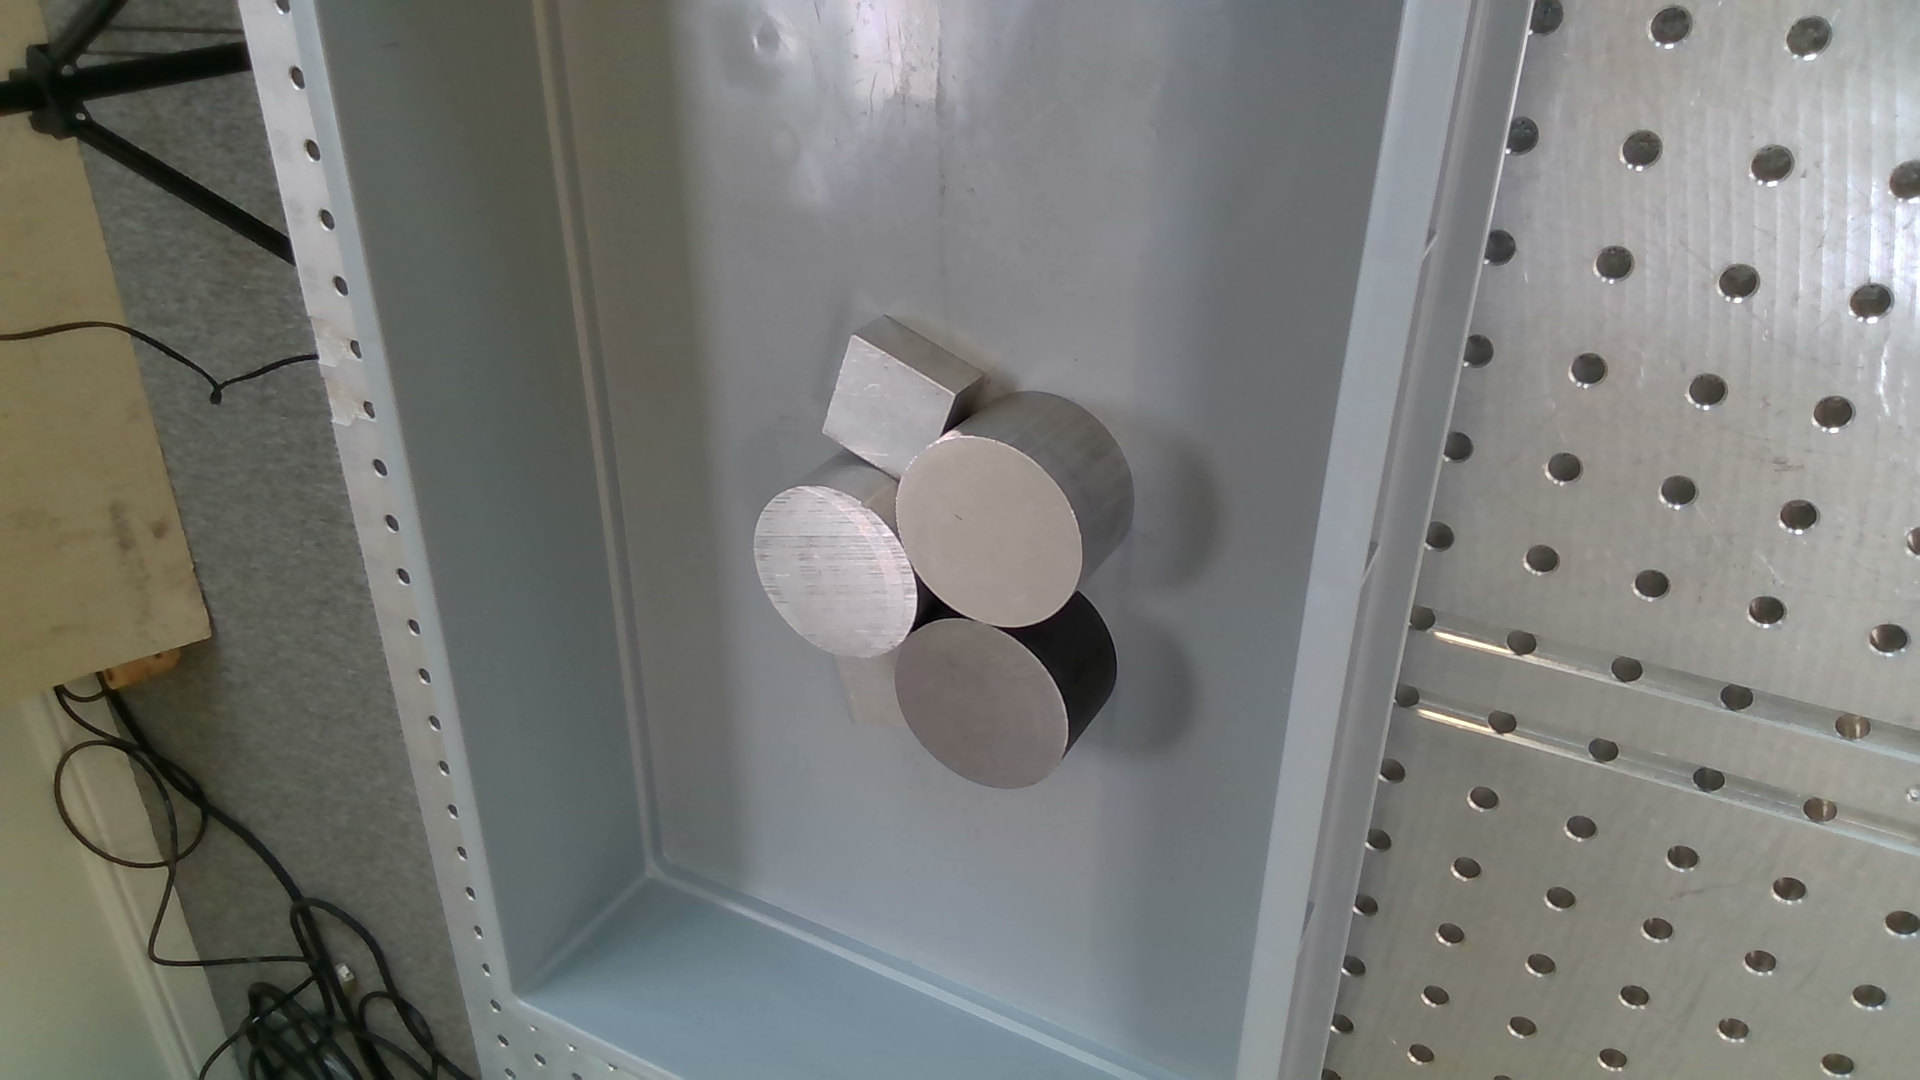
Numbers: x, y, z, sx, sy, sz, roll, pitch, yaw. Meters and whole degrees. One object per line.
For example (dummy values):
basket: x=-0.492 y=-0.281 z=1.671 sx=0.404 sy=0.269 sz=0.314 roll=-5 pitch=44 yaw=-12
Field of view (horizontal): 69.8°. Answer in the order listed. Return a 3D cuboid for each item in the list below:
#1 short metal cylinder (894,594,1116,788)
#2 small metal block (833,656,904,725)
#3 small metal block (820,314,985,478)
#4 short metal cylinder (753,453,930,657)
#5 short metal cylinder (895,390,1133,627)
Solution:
short metal cylinder: x=0.019 y=0.057 z=0.582 sx=0.080 sy=0.050 sz=0.080 roll=14 pitch=122 yaw=25
small metal block: x=-0.029 y=0.056 z=0.628 sx=0.050 sy=0.025 sz=0.050 roll=0 pitch=115 yaw=32
small metal block: x=-0.024 y=-0.056 z=0.563 sx=0.050 sy=0.025 sz=0.050 roll=32 pitch=128 yaw=13
short metal cylinder: x=-0.041 y=0.003 z=0.590 sx=0.080 sy=0.050 sz=0.080 roll=14 pitch=122 yaw=25
short metal cylinder: x=0.021 y=-0.013 z=0.542 sx=0.080 sy=0.050 sz=0.080 roll=14 pitch=122 yaw=25
